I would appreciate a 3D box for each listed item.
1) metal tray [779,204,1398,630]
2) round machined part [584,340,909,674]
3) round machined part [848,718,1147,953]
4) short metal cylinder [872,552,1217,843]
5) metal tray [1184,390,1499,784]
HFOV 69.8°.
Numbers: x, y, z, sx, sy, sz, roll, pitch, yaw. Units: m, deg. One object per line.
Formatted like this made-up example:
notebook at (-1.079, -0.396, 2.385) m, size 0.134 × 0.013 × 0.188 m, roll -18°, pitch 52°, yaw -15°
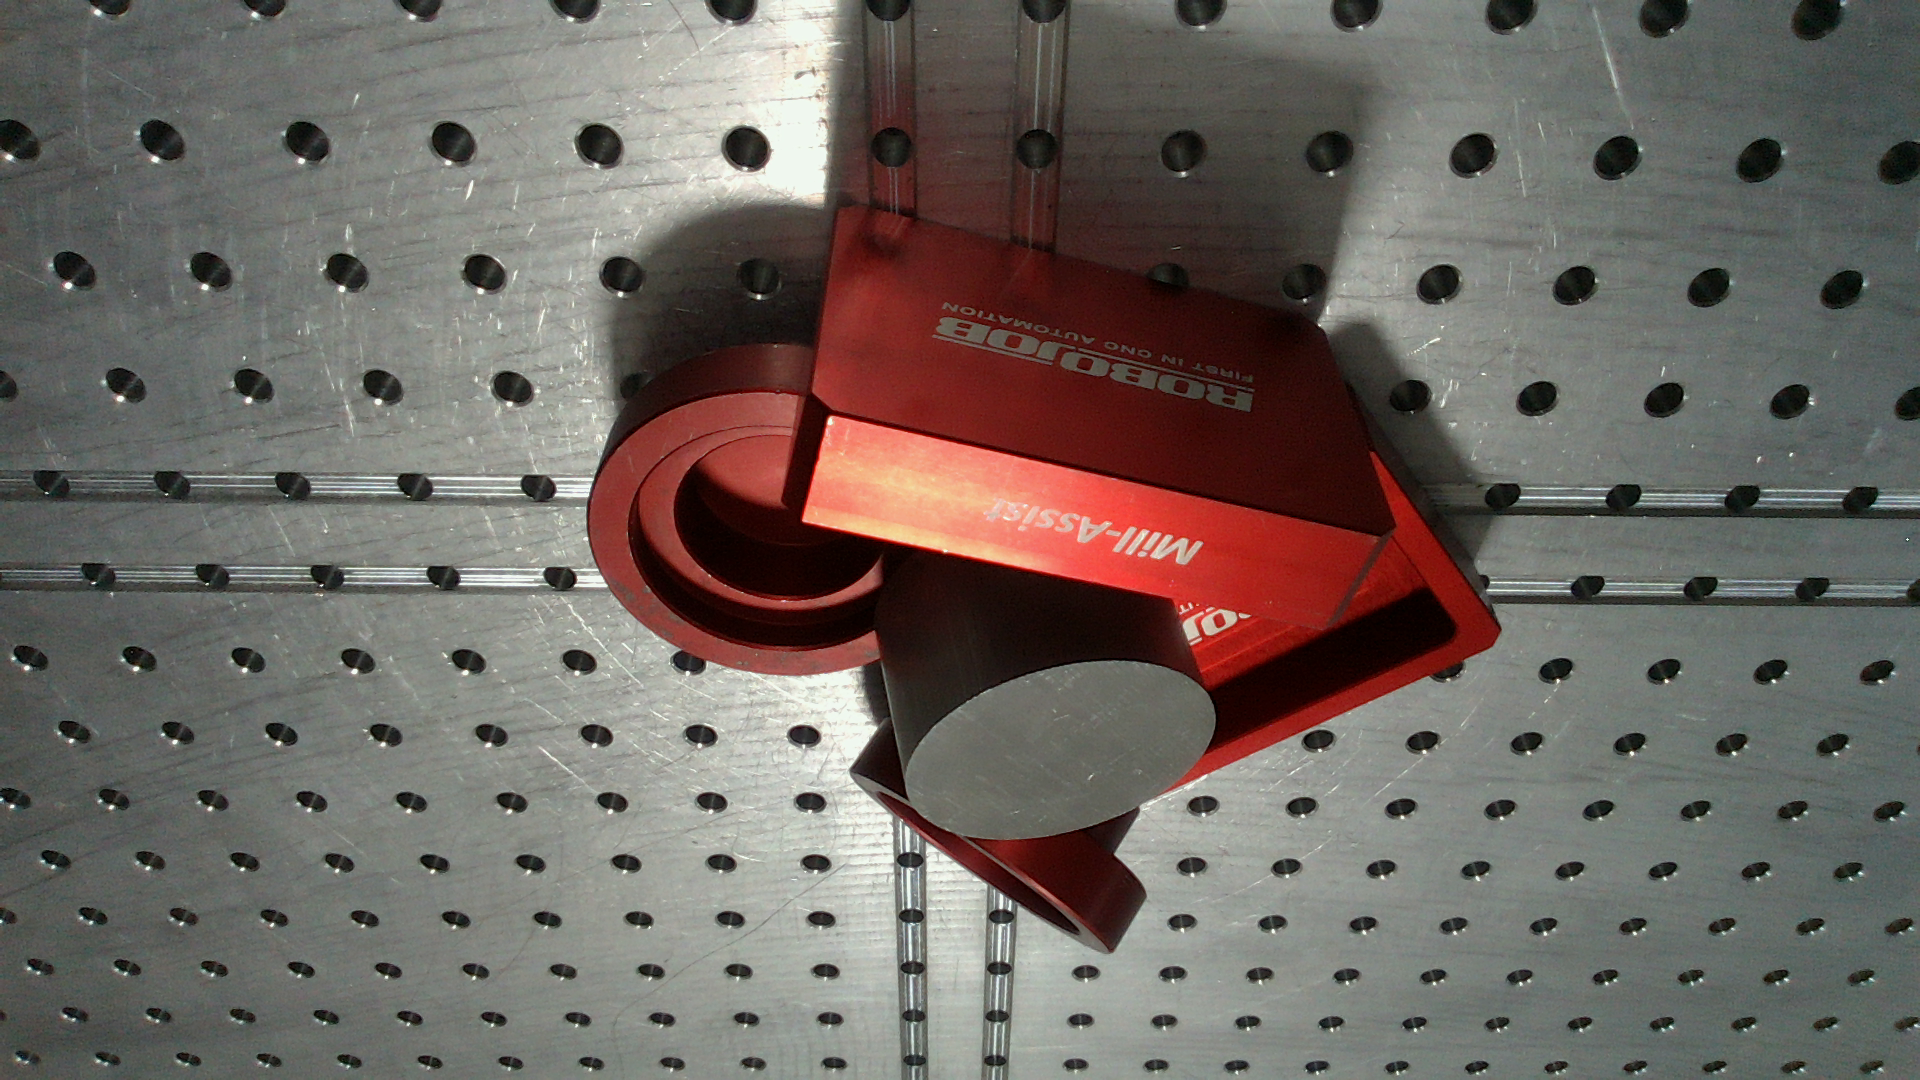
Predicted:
metal tray at (0.028, -0.031, 0.324) m, size 0.130 × 0.090 × 0.030 m, roll 12°, pitch 129°, yaw -10°
round machined part at (-0.048, -0.013, 0.372) m, size 0.098 × 0.042 × 0.098 m, roll 0°, pitch 130°, yaw 0°
round machined part at (0.017, 0.083, 0.430) m, size 0.098 × 0.042 × 0.098 m, roll 32°, pitch 164°, yaw 11°
short metal cylinder at (0.021, 0.036, 0.359) m, size 0.080 × 0.050 × 0.080 m, roll -9°, pitch 140°, yaw -8°
metal tray at (0.078, 0.022, 0.408) m, size 0.130 × 0.030 × 0.090 m, roll -30°, pitch 124°, yaw 23°
